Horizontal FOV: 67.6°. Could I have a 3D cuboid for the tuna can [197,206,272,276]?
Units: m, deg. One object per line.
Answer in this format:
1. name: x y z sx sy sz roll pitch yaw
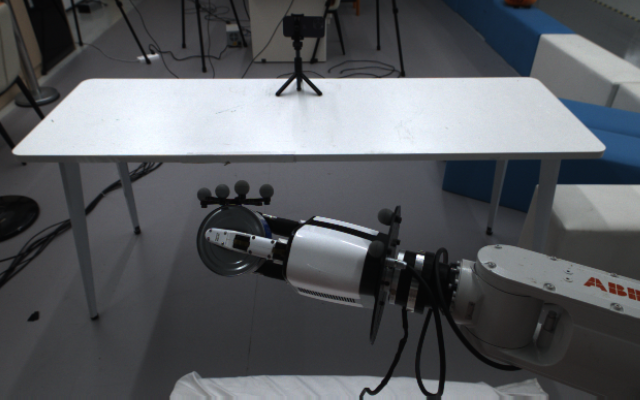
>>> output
1. tuna can: -0.100 0.054 0.582 0.085 0.085 0.034 10 -6 11
